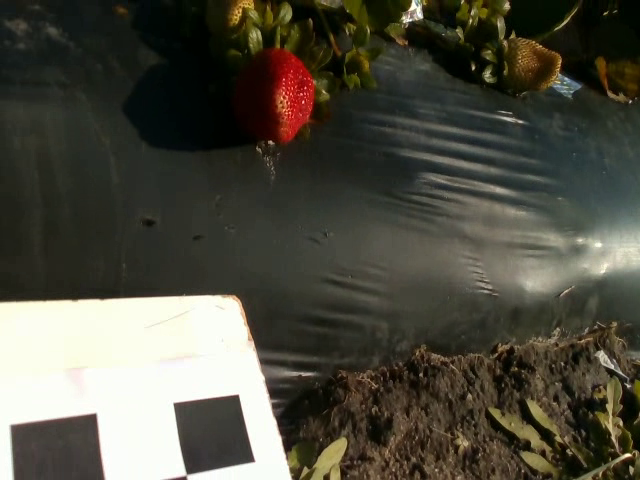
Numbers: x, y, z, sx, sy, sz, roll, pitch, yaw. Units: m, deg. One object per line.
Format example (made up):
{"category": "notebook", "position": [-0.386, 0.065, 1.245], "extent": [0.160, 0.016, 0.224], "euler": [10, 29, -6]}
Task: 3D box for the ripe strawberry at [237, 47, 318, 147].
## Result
{"category": "ripe strawberry", "position": [-0.021, -0.058, 0.263], "extent": [0.042, 0.042, 0.059], "euler": [23, 32, -22]}
